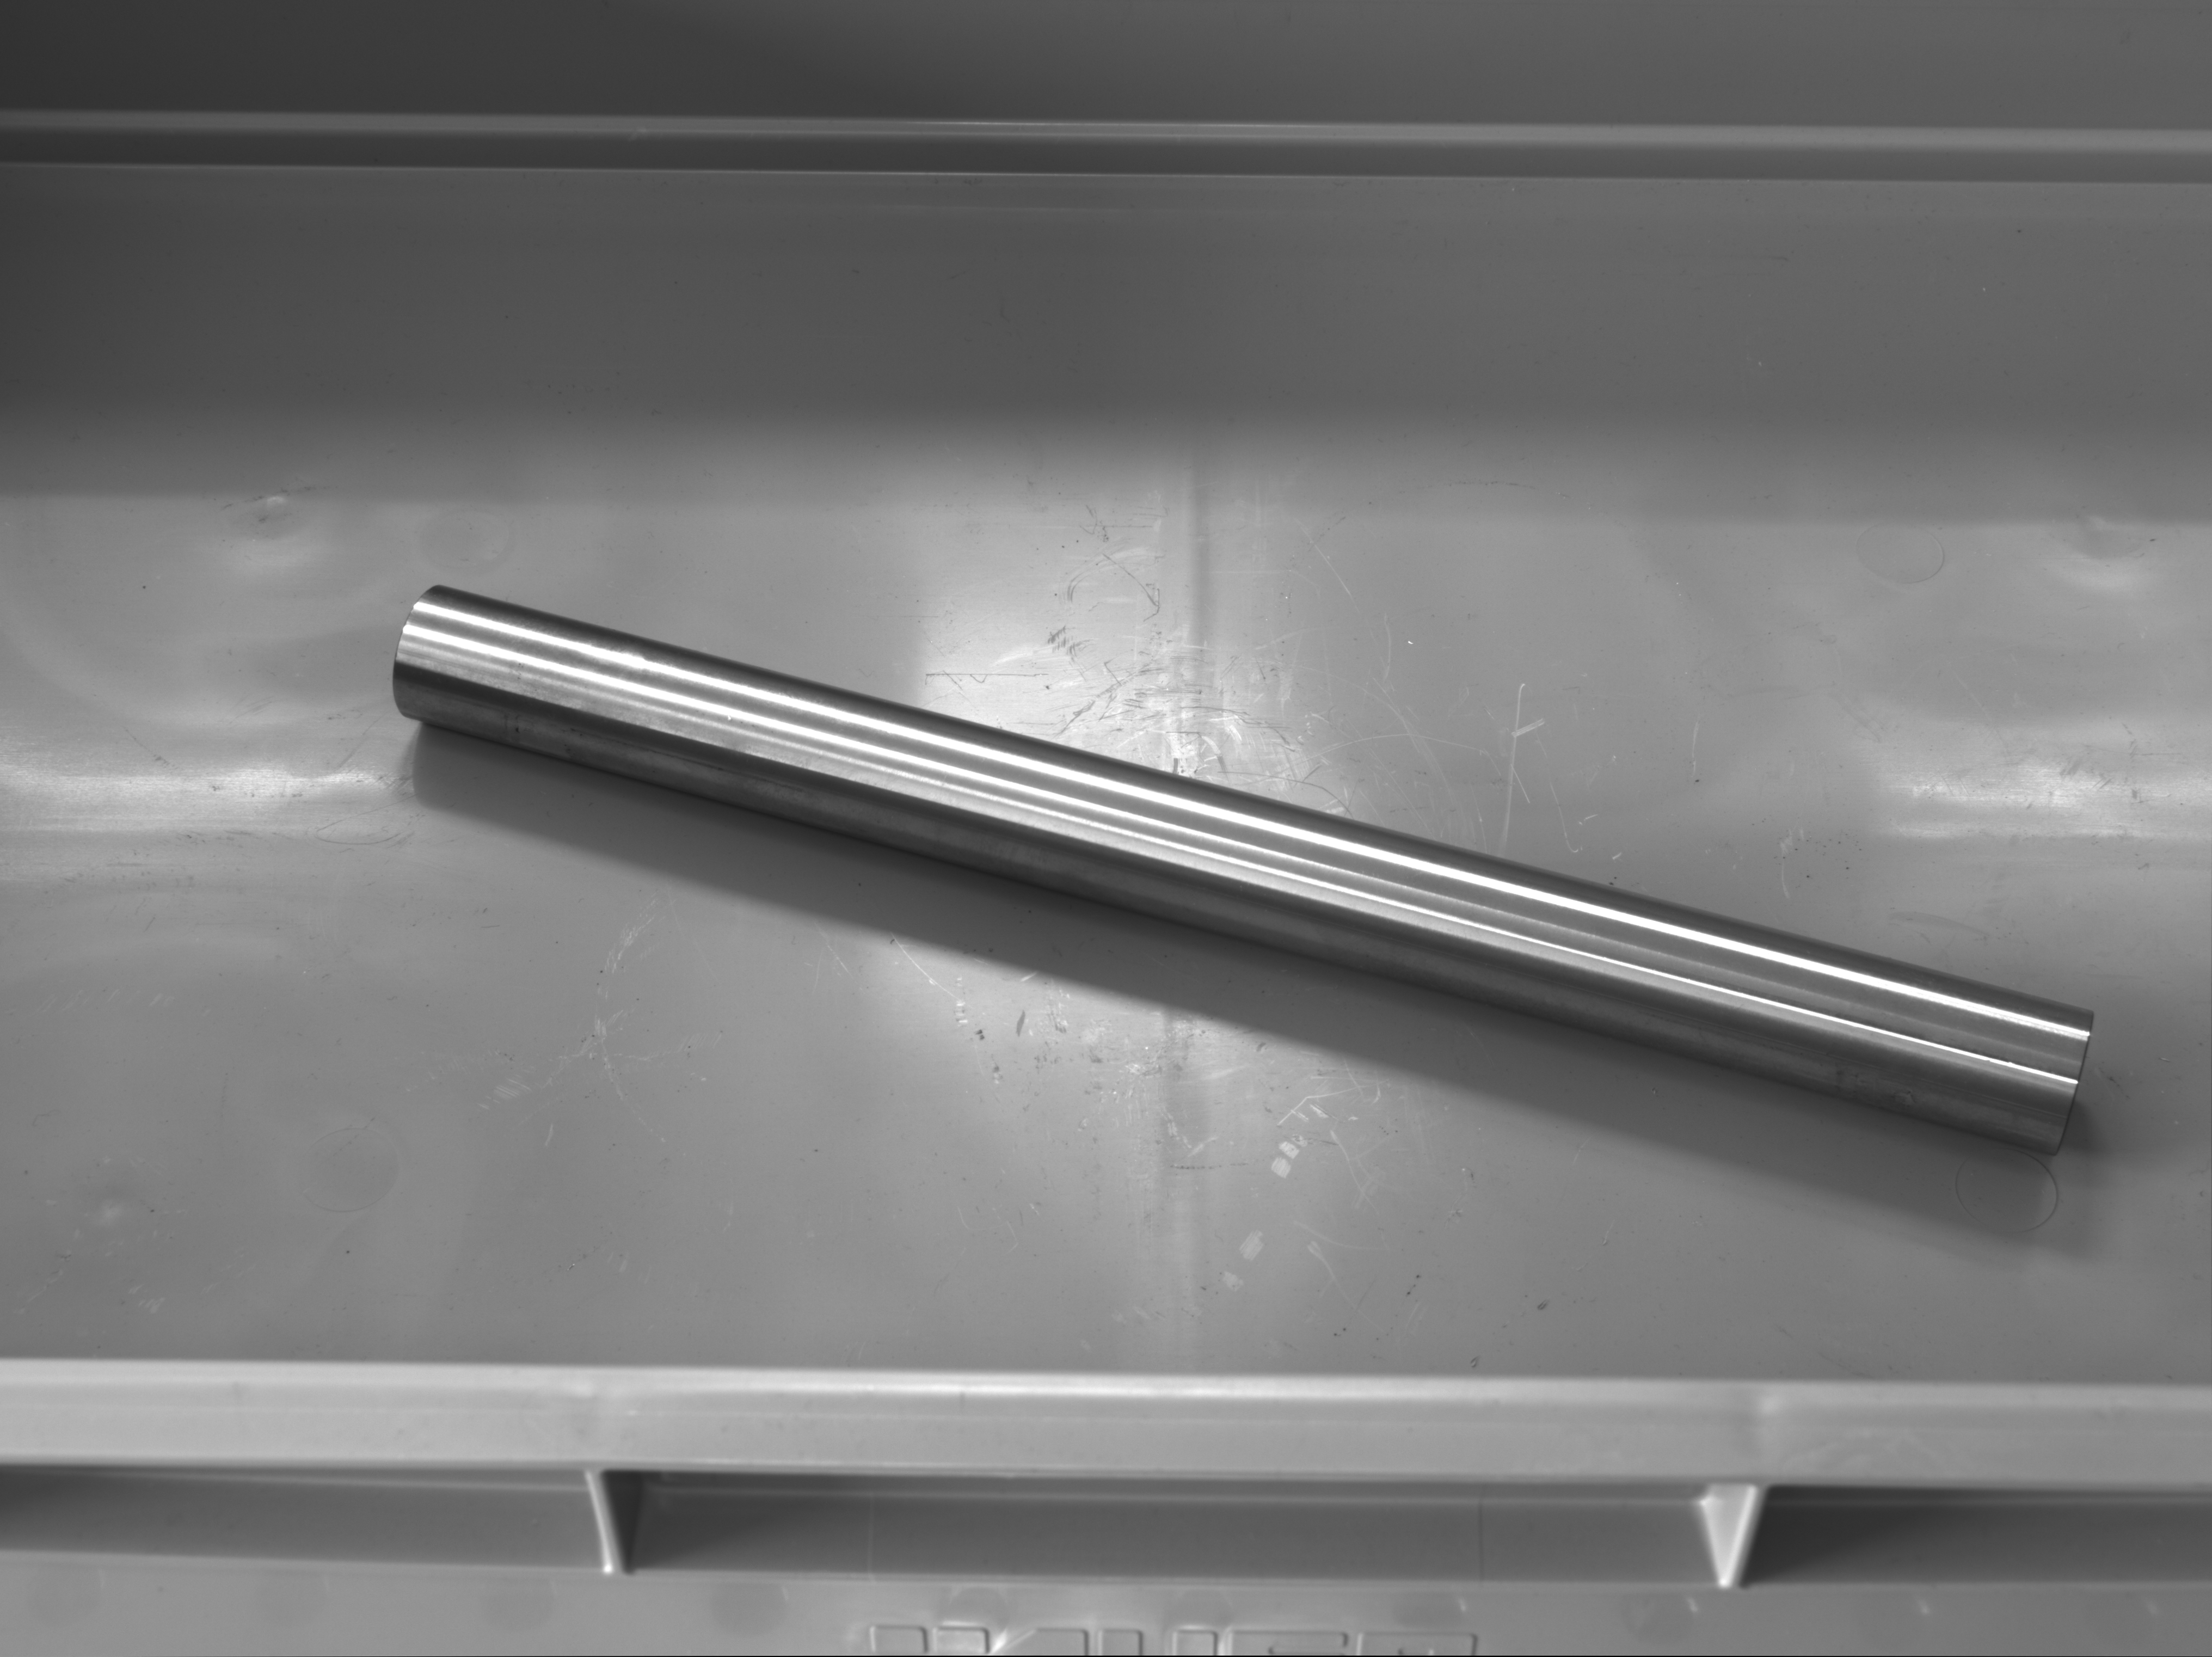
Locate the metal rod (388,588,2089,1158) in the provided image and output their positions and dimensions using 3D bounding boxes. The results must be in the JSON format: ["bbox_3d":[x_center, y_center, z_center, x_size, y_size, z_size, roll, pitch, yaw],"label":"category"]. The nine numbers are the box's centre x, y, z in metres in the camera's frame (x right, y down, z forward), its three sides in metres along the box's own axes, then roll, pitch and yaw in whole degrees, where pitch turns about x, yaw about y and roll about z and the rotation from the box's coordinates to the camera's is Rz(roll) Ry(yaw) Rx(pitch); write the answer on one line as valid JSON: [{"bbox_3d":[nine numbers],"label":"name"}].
[{"bbox_3d":[0.017,0.005,0.636,0.300,0.025,0.025,15,51,12],"label":"metal rod"}]
